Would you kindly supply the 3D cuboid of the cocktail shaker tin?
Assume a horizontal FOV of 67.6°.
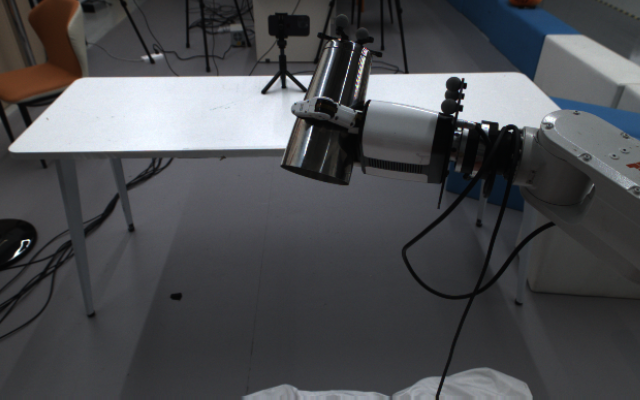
[{"bbox_3d":[0.015,-0.113,0.625,0.093,0.170,0.093,16,-4,1],"label":"cocktail shaker tin"}]
